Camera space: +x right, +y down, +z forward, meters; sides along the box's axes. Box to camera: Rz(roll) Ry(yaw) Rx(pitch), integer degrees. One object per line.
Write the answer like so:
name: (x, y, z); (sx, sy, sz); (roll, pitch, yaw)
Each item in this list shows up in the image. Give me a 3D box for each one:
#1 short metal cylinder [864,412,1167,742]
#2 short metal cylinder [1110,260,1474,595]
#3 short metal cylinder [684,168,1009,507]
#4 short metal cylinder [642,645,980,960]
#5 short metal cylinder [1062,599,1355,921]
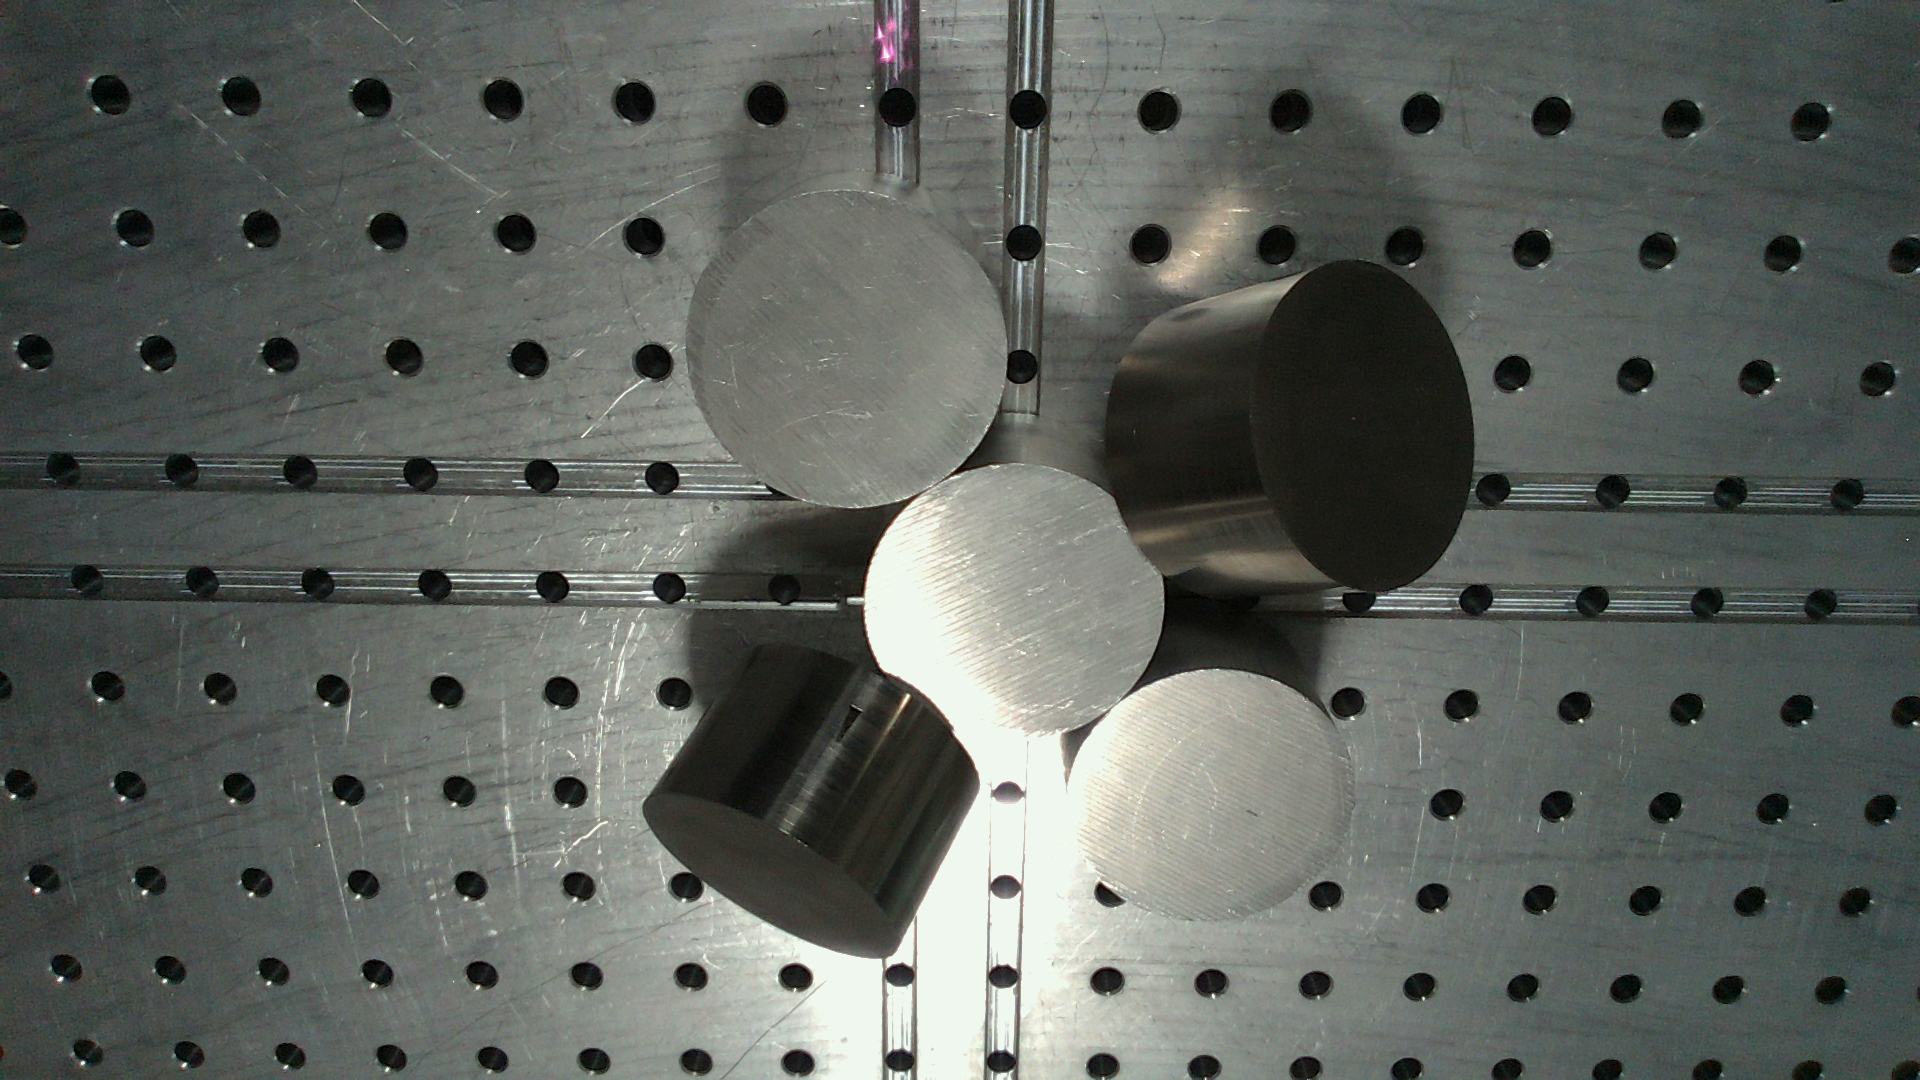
short metal cylinder: (0.015, 0.009, 0.386); (0.080, 0.050, 0.080); (0, 110, 0)
short metal cylinder: (0.085, -0.026, 0.352); (0.080, 0.050, 0.080); (3, 85, -35)
short metal cylinder: (-0.028, -0.055, 0.363); (0.080, 0.050, 0.080); (0, 110, 0)
short metal cylinder: (-0.041, 0.075, 0.388); (0.080, 0.050, 0.080); (21, 147, 15)
short metal cylinder: (0.070, 0.064, 0.407); (0.080, 0.050, 0.080); (0, 110, 0)
